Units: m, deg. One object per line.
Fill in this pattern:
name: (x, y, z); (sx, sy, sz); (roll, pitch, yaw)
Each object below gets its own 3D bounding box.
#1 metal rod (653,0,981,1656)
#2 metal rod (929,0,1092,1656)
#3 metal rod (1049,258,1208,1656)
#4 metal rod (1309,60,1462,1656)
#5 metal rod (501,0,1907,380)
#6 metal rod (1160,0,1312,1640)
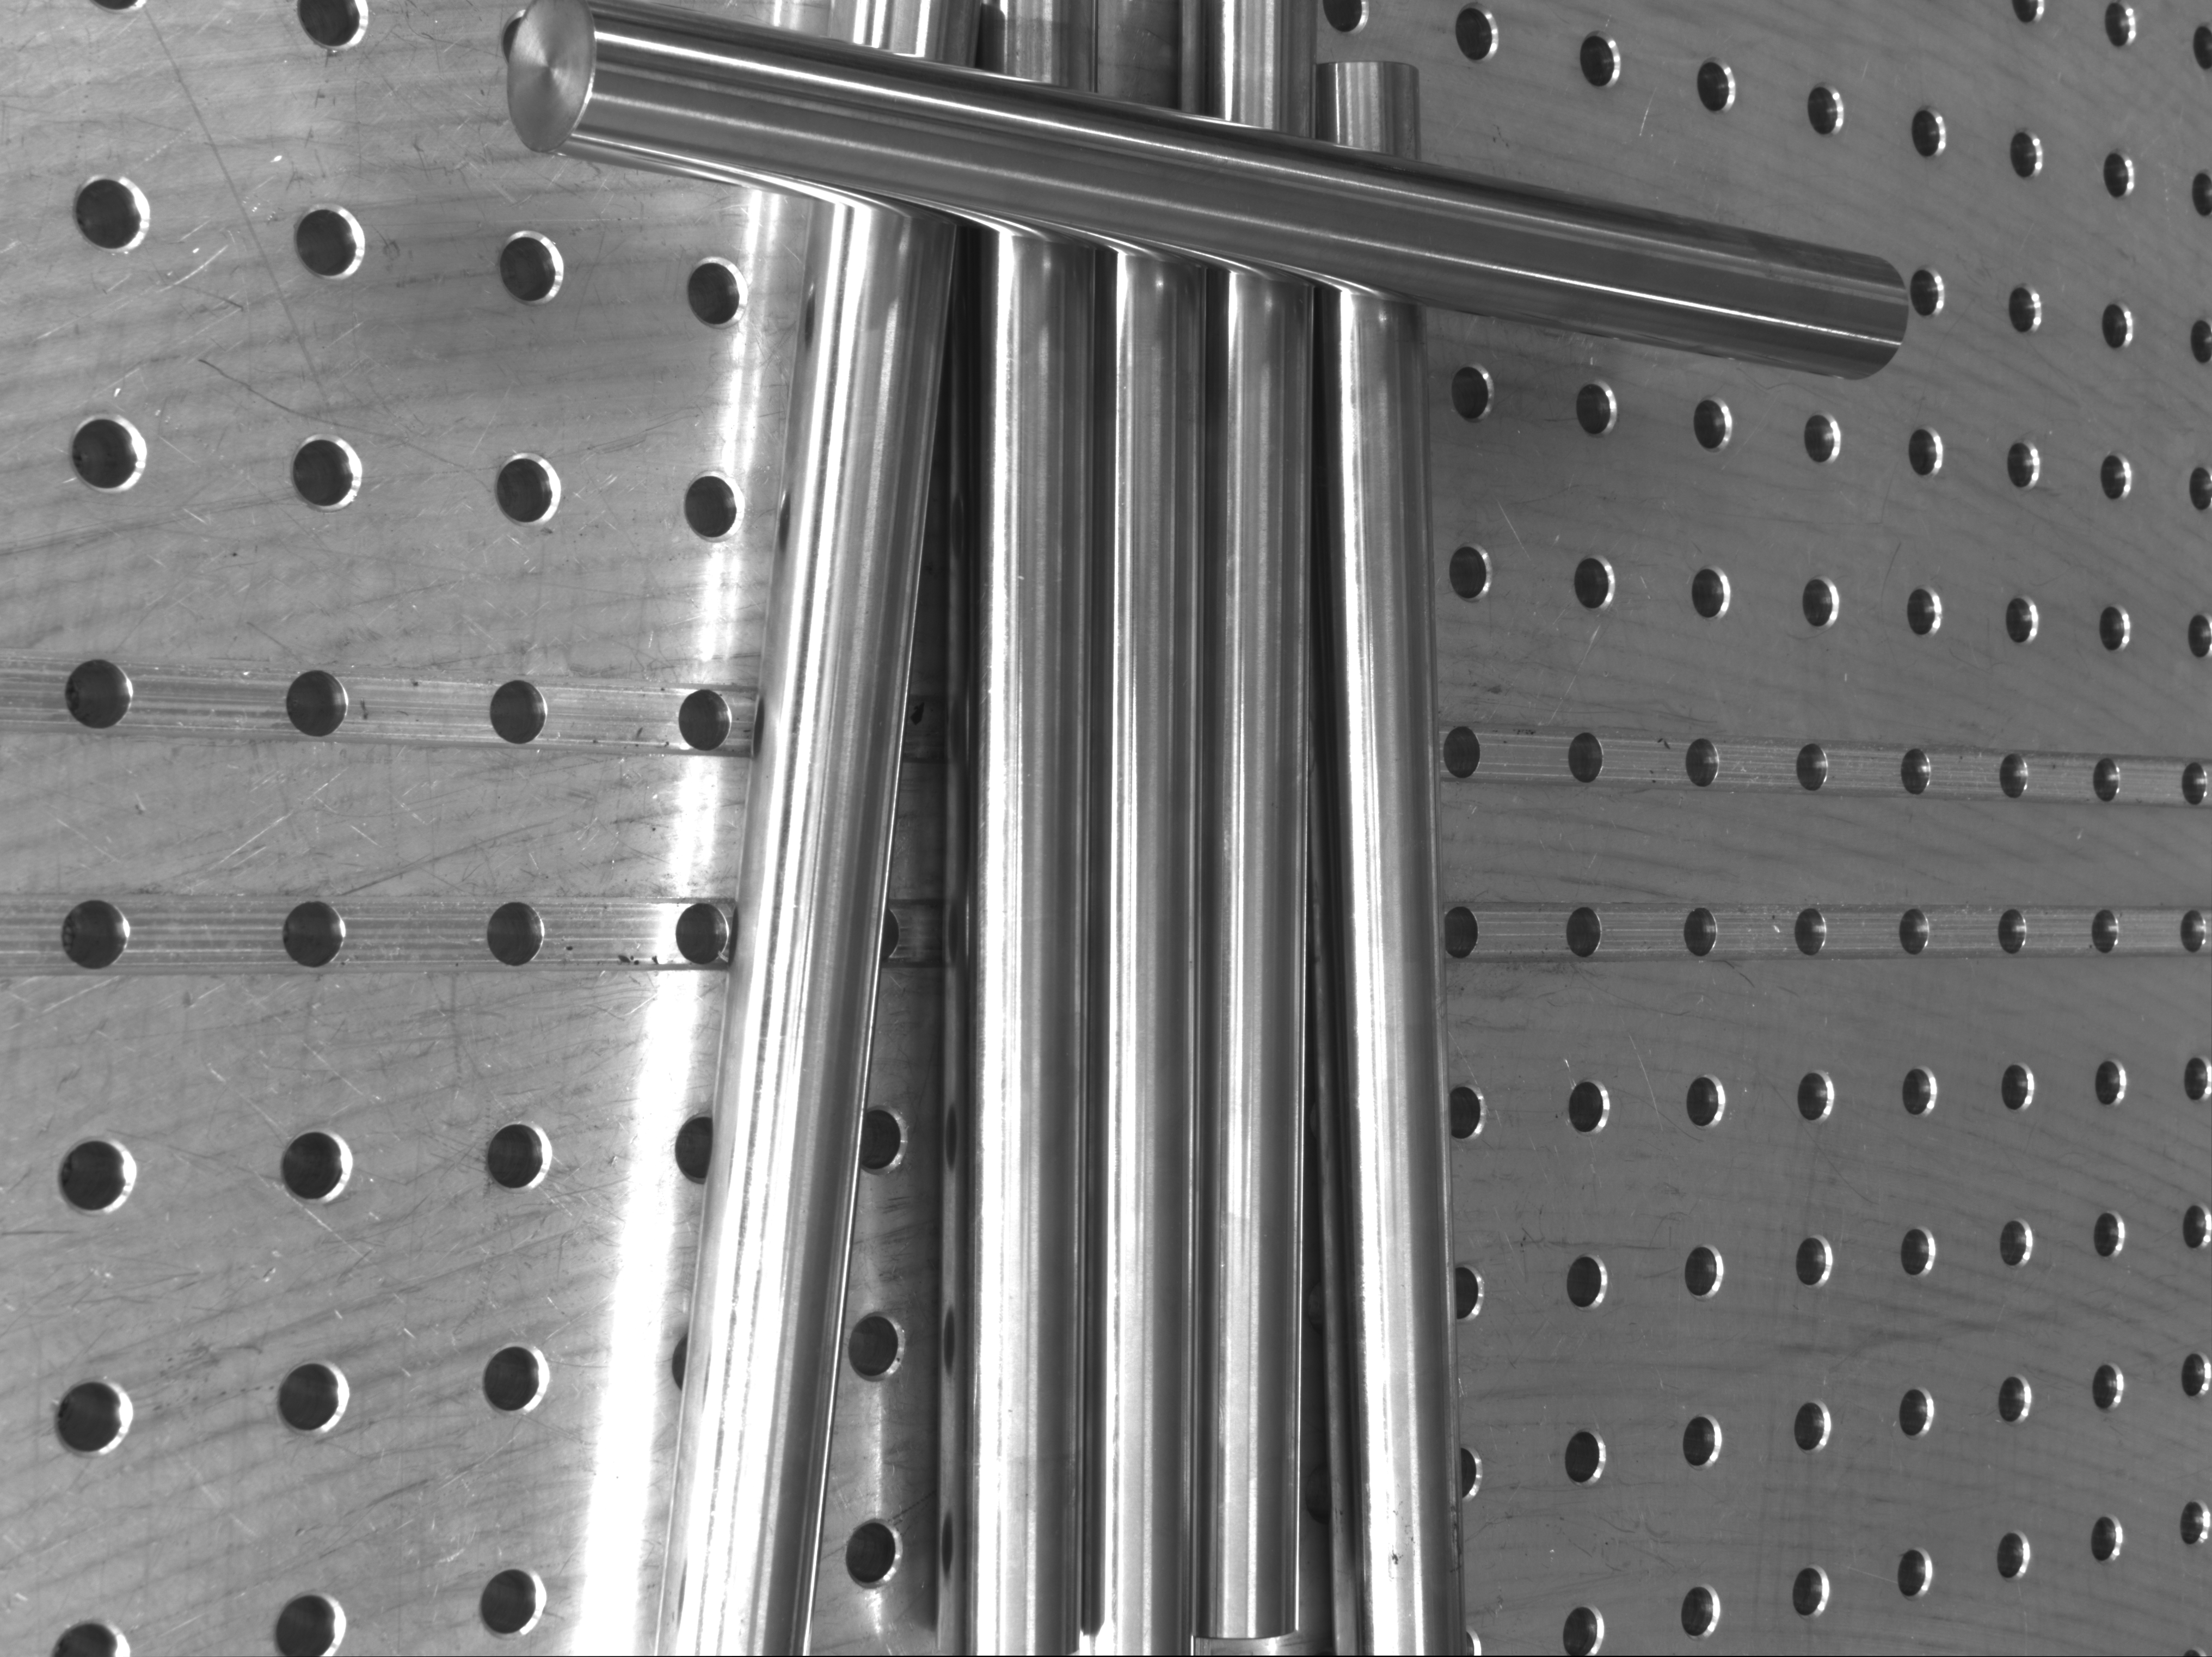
metal rod: (-0.048, 0.009, 0.598); (0.025, 0.025, 0.300); (9, 84, -39)
metal rod: (-0.016, -0.011, 0.626); (0.025, 0.025, 0.300); (1, 89, -40)
metal rod: (0.003, 0.046, 0.642); (0.025, 0.025, 0.300); (1, 90, -40)
metal rod: (0.049, 0.011, 0.681); (0.025, 0.025, 0.300); (-3, 92, -40)
metal rod: (0.033, -0.107, 0.635); (0.301, 0.025, 0.025); (3, 88, -40)
metal rod: (0.023, -0.007, 0.660); (0.025, 0.025, 0.300); (1, 89, -40)
